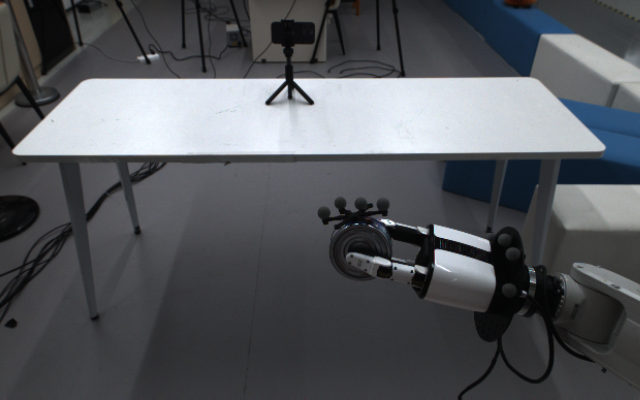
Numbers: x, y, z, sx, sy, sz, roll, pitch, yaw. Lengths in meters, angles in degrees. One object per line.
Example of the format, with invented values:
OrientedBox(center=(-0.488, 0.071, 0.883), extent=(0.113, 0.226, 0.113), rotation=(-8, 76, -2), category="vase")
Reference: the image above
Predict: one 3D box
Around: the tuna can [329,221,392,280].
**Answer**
OrientedBox(center=(0.059, 0.072, 0.657), extent=(0.085, 0.085, 0.034), rotation=(6, 18, 5), category="tuna can")
